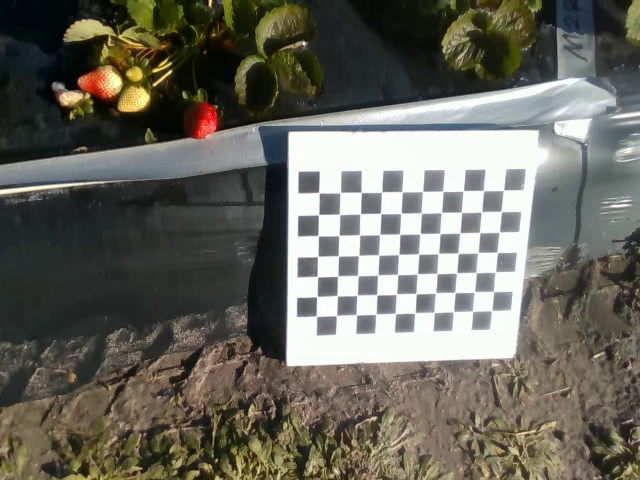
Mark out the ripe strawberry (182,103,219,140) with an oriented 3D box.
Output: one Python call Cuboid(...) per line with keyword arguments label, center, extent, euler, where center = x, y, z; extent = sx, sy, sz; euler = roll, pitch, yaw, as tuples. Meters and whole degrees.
Cuboid(label="ripe strawberry", center=(-0.104, -0.098, 0.580), extent=(0.036, 0.038, 0.046), euler=(-2, 29, -6))
